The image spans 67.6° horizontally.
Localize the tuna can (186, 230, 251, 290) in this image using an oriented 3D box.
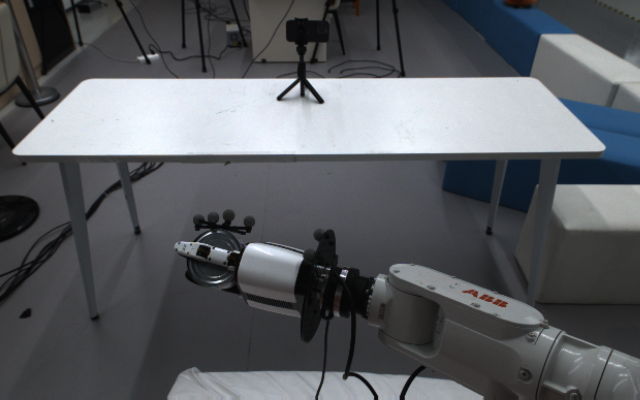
[{"bbox_3d":[-0.147,0.088,0.707,0.085,0.034,0.085,-3,73,9],"label":"tuna can"}]
